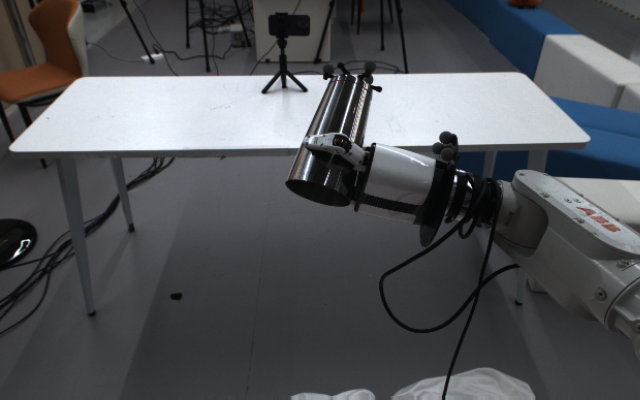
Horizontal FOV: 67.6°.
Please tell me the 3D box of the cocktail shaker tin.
[{"bbox_3d":[0.020,-0.087,0.679,0.093,0.093,0.170,13,73,15],"label":"cocktail shaker tin"}]
